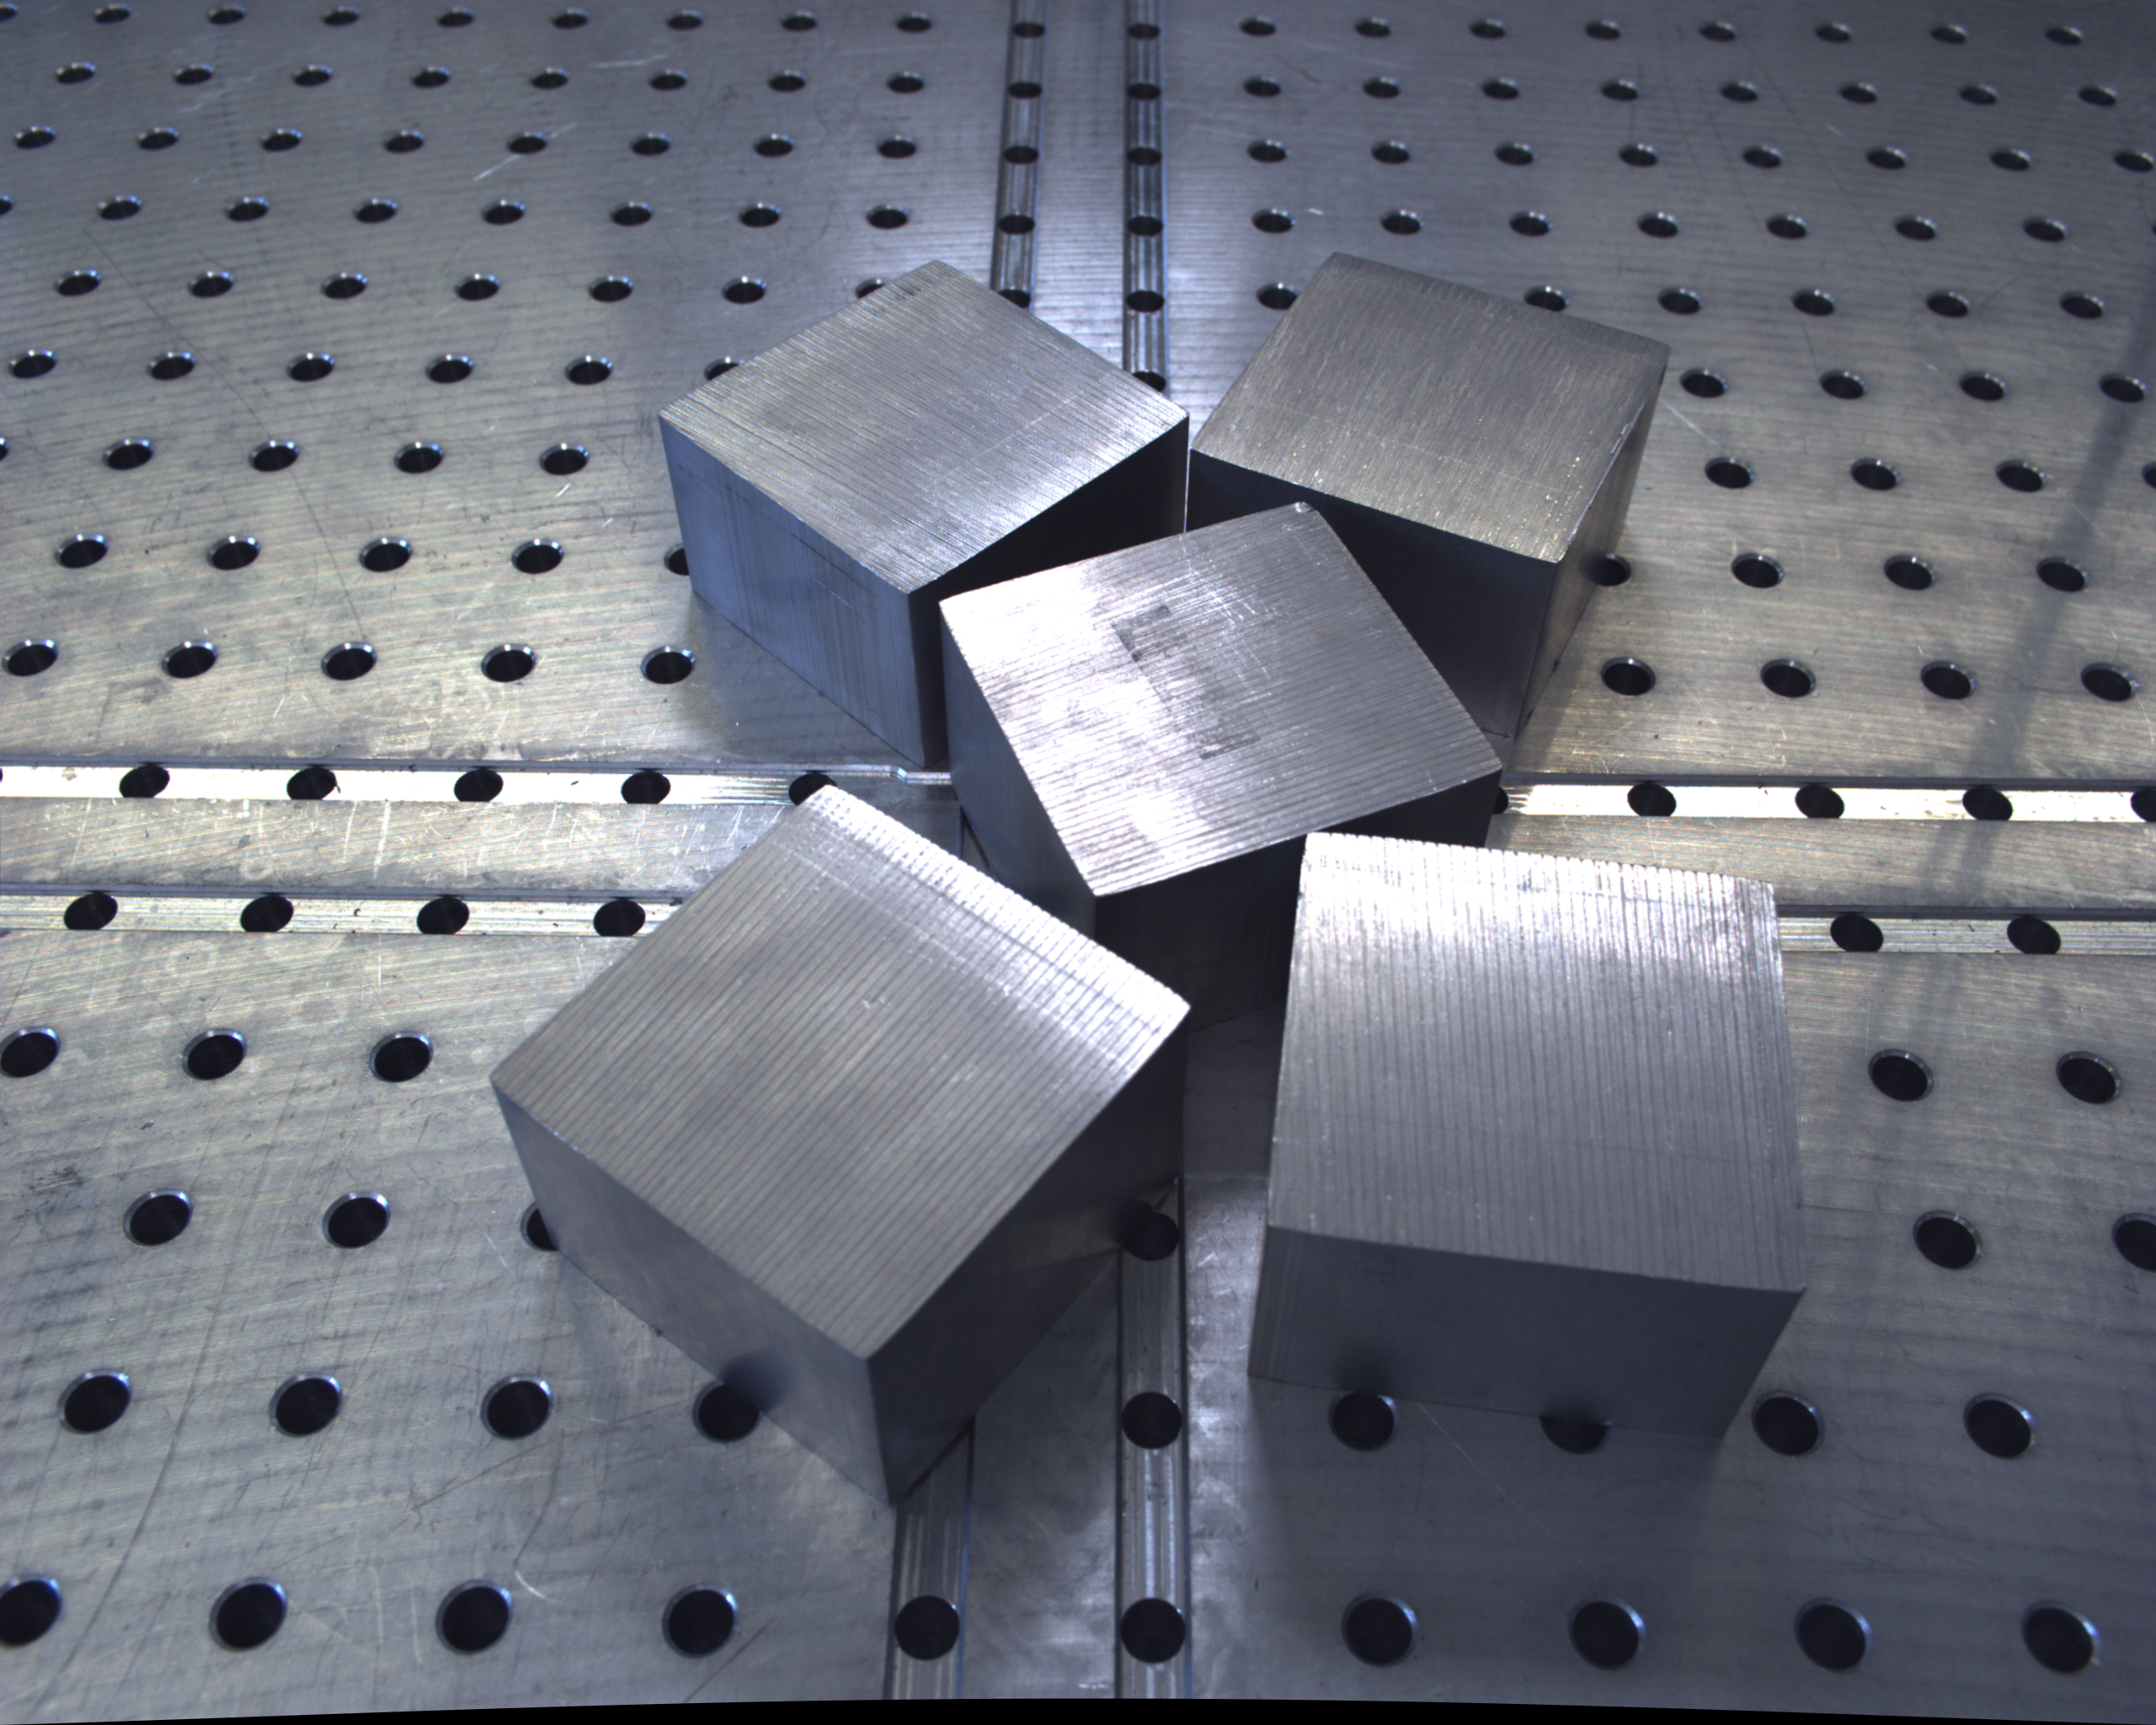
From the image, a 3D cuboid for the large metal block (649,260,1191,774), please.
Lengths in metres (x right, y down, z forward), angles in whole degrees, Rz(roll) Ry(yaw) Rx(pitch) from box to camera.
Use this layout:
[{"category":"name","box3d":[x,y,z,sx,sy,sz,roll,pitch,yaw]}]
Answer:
[{"category":"large metal block","box3d":[-0.033,-0.078,0.457,0.080,0.050,0.080,-37,59,-26]}]

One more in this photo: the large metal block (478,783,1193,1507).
[{"category":"large metal block","box3d":[-0.038,0.045,0.352,0.080,0.050,0.080,30,56,23]}]

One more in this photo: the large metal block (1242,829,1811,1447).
[{"category":"large metal block","box3d":[0.074,0.045,0.354,0.080,0.050,0.080,7,50,5]}]

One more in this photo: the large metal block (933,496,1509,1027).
[{"category":"large metal block","box3d":[0.025,-0.018,0.406,0.081,0.050,0.080,-18,52,-14]}]

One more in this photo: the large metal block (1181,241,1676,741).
[{"category":"large metal block","box3d":[0.076,-0.084,0.461,0.080,0.050,0.080,22,54,14]}]
